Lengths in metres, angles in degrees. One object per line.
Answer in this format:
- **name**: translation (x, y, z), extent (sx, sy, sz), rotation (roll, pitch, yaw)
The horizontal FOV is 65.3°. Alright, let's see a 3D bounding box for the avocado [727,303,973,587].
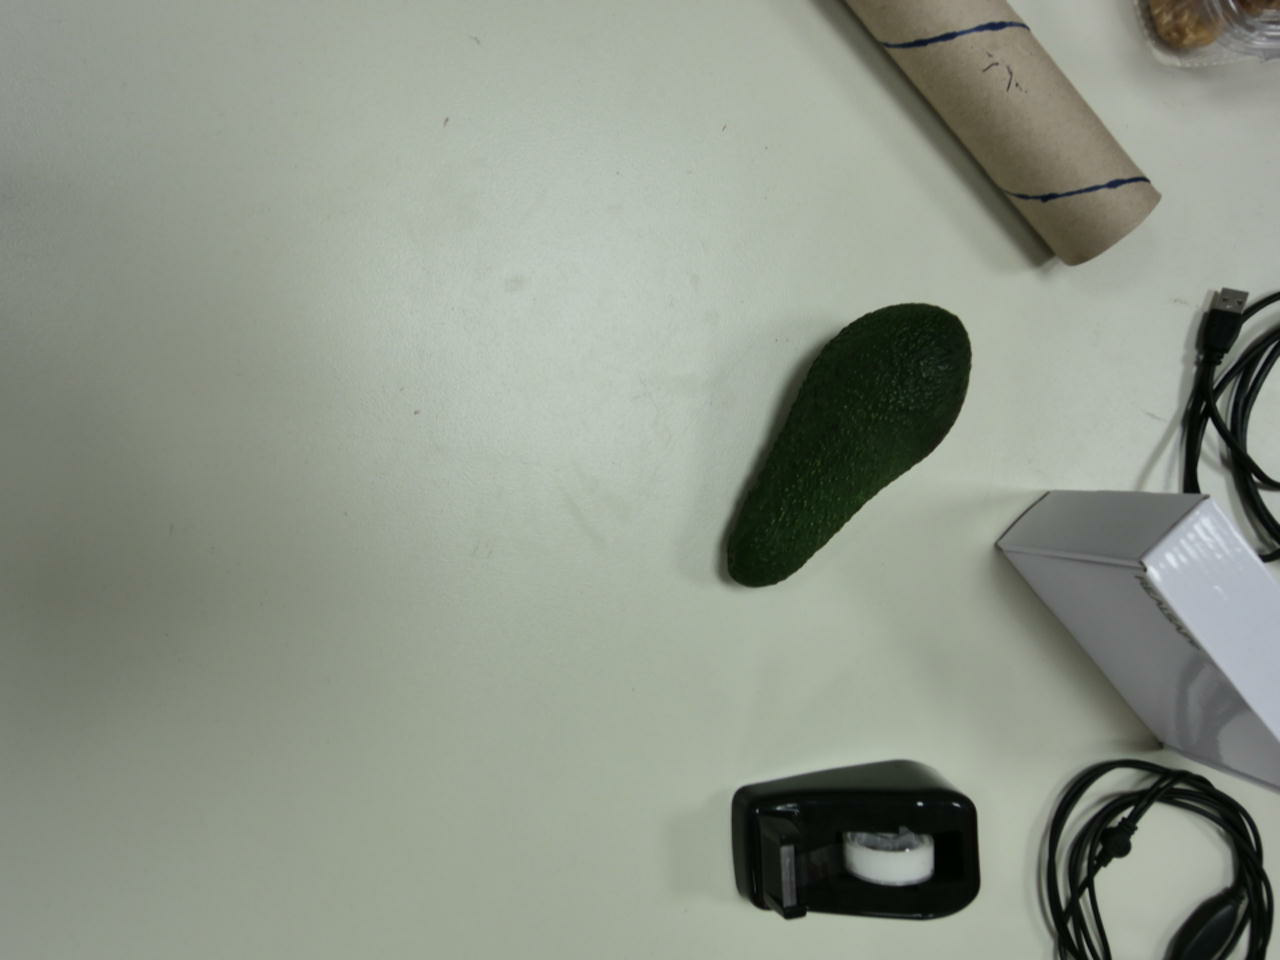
- **avocado**: translation (0.090, -0.011, 0.417), extent (0.063, 0.067, 0.141), rotation (26, 85, -10)
